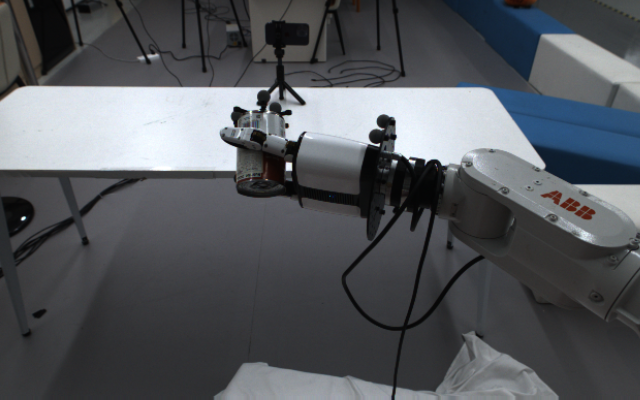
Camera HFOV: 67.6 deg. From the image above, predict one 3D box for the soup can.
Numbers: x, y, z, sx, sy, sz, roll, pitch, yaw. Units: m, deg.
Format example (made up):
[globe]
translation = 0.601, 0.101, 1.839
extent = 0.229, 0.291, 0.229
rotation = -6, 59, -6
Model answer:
[soup can]
translation = -0.078, -0.061, 0.653
extent = 0.067, 0.067, 0.101
rotation = -1, 71, -5
